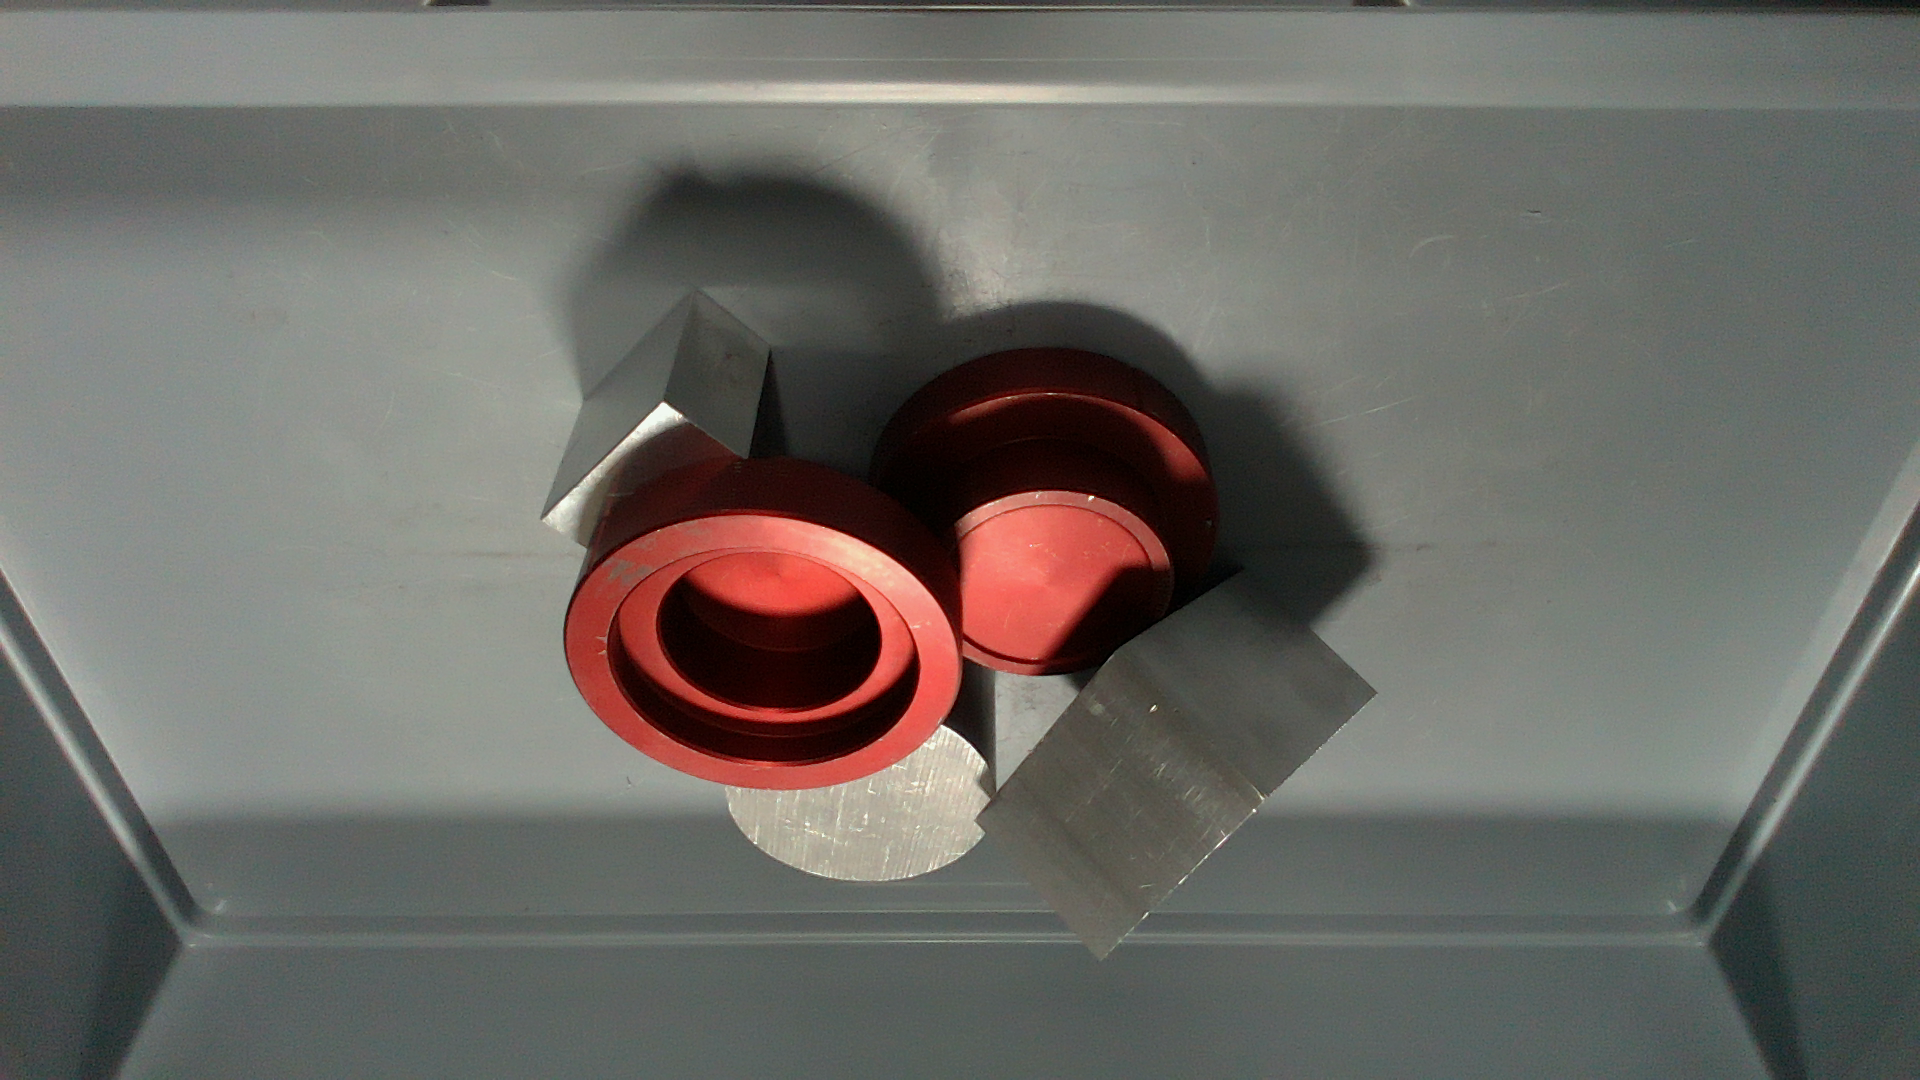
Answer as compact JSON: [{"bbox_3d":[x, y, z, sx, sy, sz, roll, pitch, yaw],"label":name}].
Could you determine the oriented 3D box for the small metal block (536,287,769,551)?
[{"bbox_3d":[-0.077,-0.028,0.348,0.025,0.050,0.050,36,122,-27],"label":"small metal block"}]

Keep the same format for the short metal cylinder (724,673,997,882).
[{"bbox_3d":[-0.029,0.060,0.423,0.080,0.050,0.080,0,130,0],"label":"short metal cylinder"}]

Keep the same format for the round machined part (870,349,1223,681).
[{"bbox_3d":[0.023,0.000,0.376,0.098,0.042,0.098,0,130,0],"label":"round machined part"}]

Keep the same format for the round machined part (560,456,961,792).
[{"bbox_3d":[-0.049,0.018,0.354,0.098,0.042,0.098,0,130,0],"label":"round machined part"}]

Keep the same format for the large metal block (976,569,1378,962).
[{"bbox_3d":[0.063,0.063,0.398,0.050,0.080,0.080,46,125,16],"label":"large metal block"}]
